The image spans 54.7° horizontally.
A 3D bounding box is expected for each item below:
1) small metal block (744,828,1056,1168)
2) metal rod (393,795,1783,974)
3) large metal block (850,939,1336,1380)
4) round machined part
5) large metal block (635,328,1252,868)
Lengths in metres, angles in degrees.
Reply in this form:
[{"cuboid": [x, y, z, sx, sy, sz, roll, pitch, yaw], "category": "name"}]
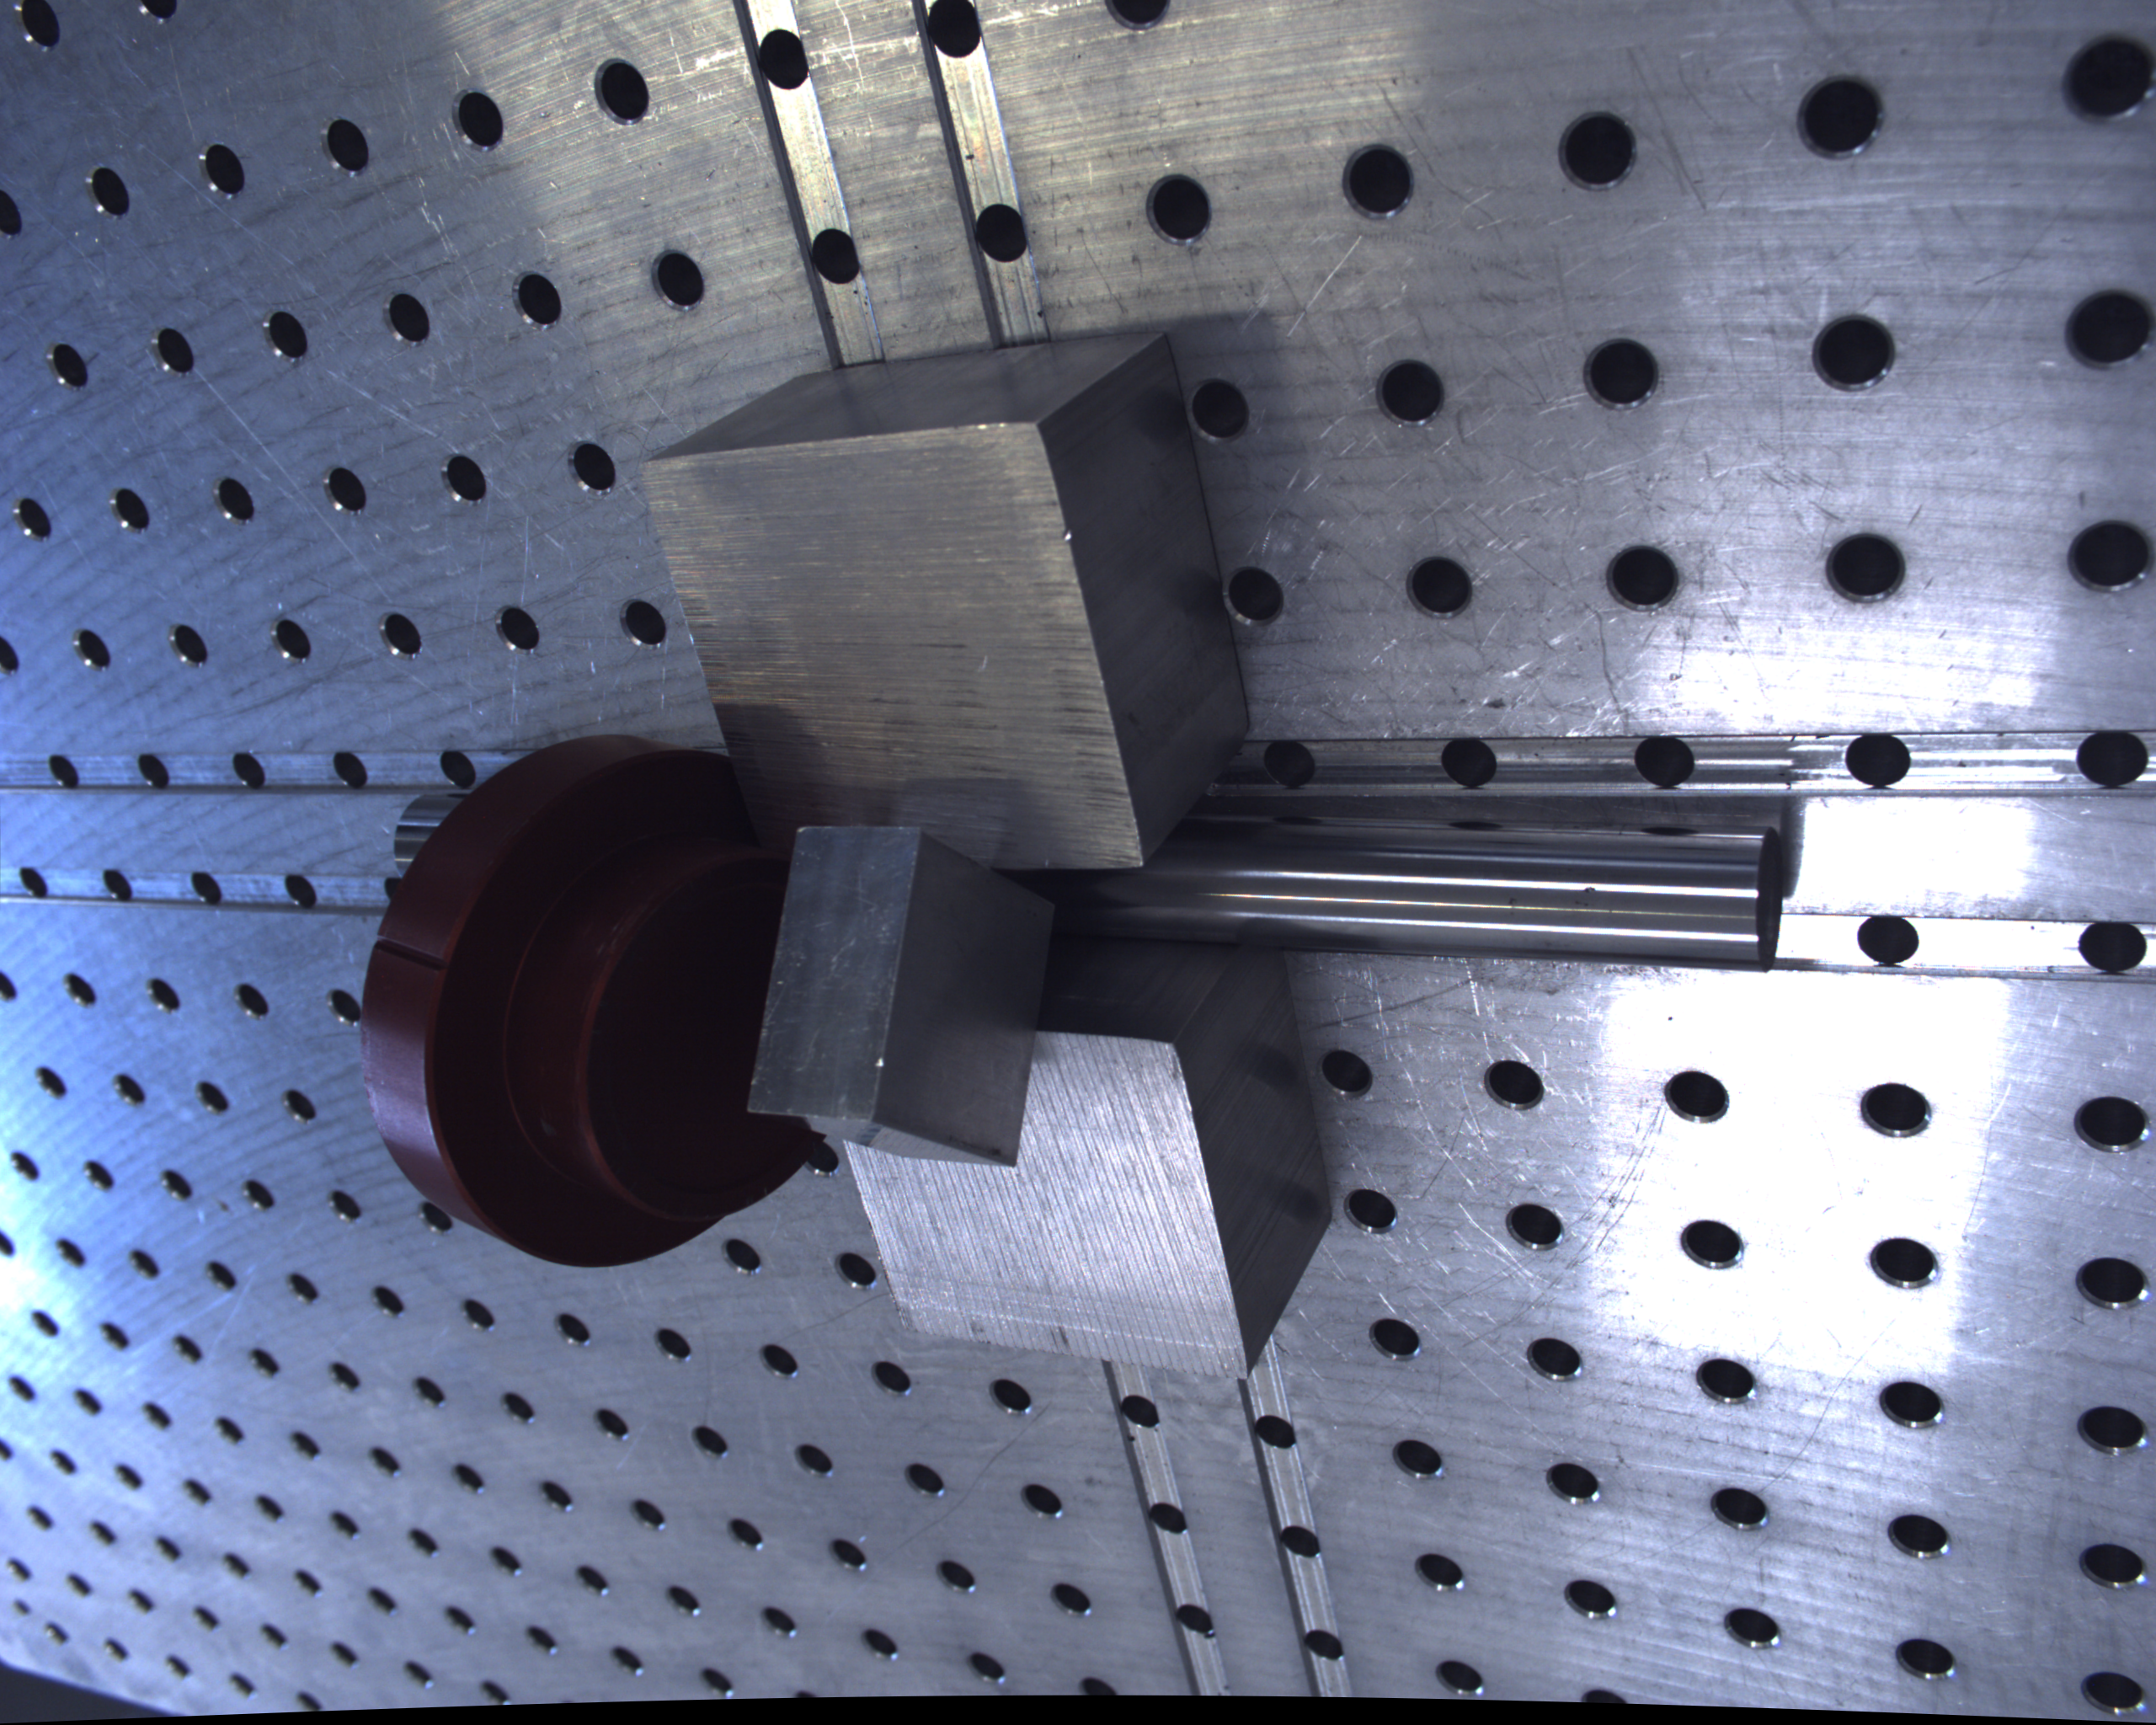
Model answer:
[{"cuboid": [-0.030, 0.025, 0.369, 0.025, 0.050, 0.050, 1, 75, 28], "category": "small metal block"}, {"cuboid": [-0.017, 0.001, 0.421, 0.300, 0.025, 0.025, 2, 120, 27], "category": "metal rod"}, {"cuboid": [0.001, 0.053, 0.428, 0.080, 0.050, 0.080, 1, 119, 27], "category": "large metal block"}, {"cuboid": [-0.077, 0.028, 0.384, 0.042, 0.099, 0.097, 13, 125, 38], "category": "round machined part"}, {"cuboid": [-0.022, -0.046, 0.378, 0.080, 0.050, 0.080, 1, 119, 28], "category": "large metal block"}]
